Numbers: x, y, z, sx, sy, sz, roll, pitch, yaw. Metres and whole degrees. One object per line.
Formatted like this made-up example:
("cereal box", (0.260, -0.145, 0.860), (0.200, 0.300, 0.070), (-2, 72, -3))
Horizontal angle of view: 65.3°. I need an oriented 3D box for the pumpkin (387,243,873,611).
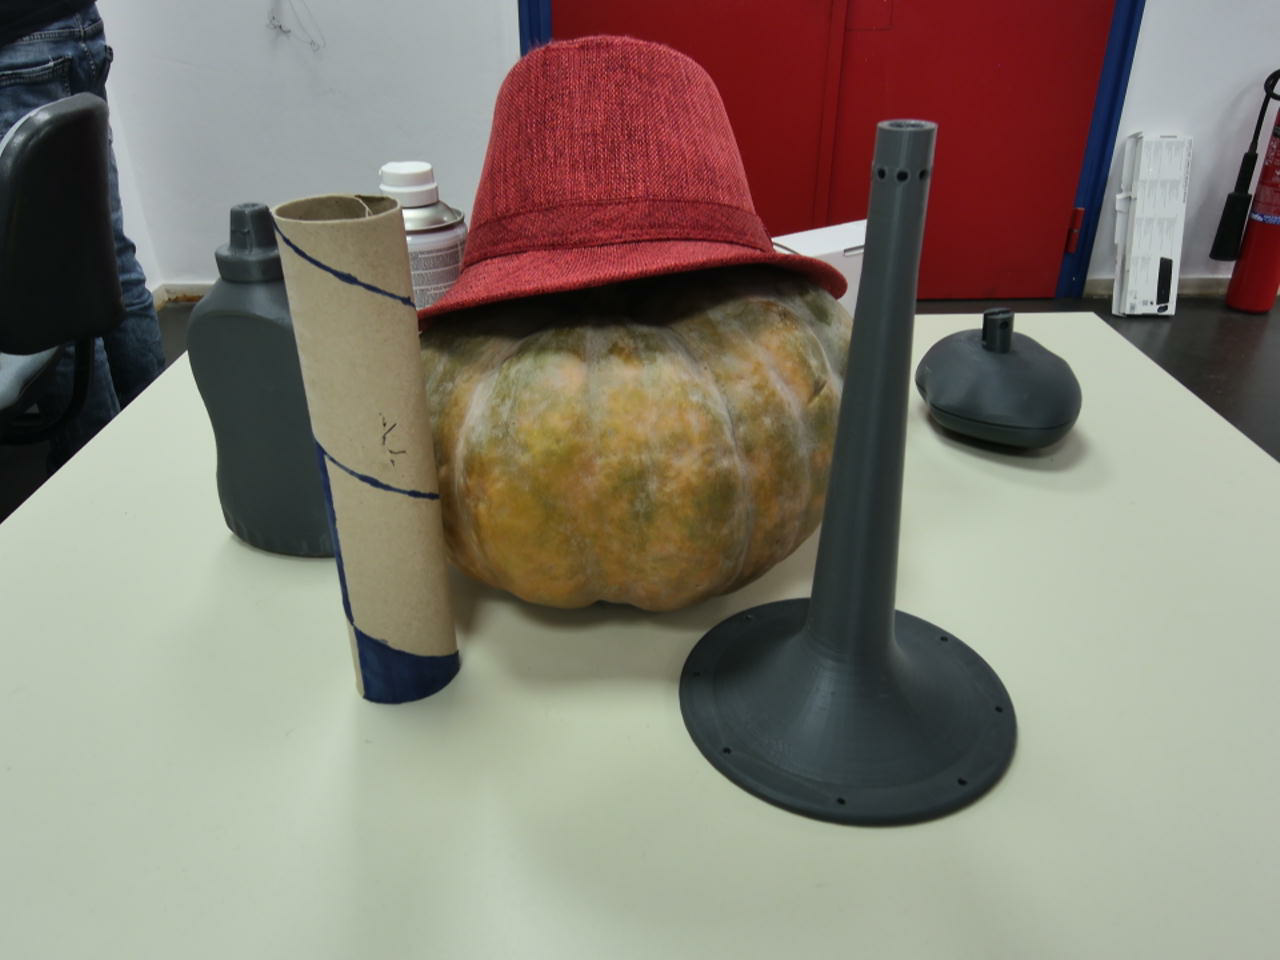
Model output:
("pumpkin", (-0.012, -0.033, 0.534), (0.252, 0.169, 0.251), (0, 26, 0))
